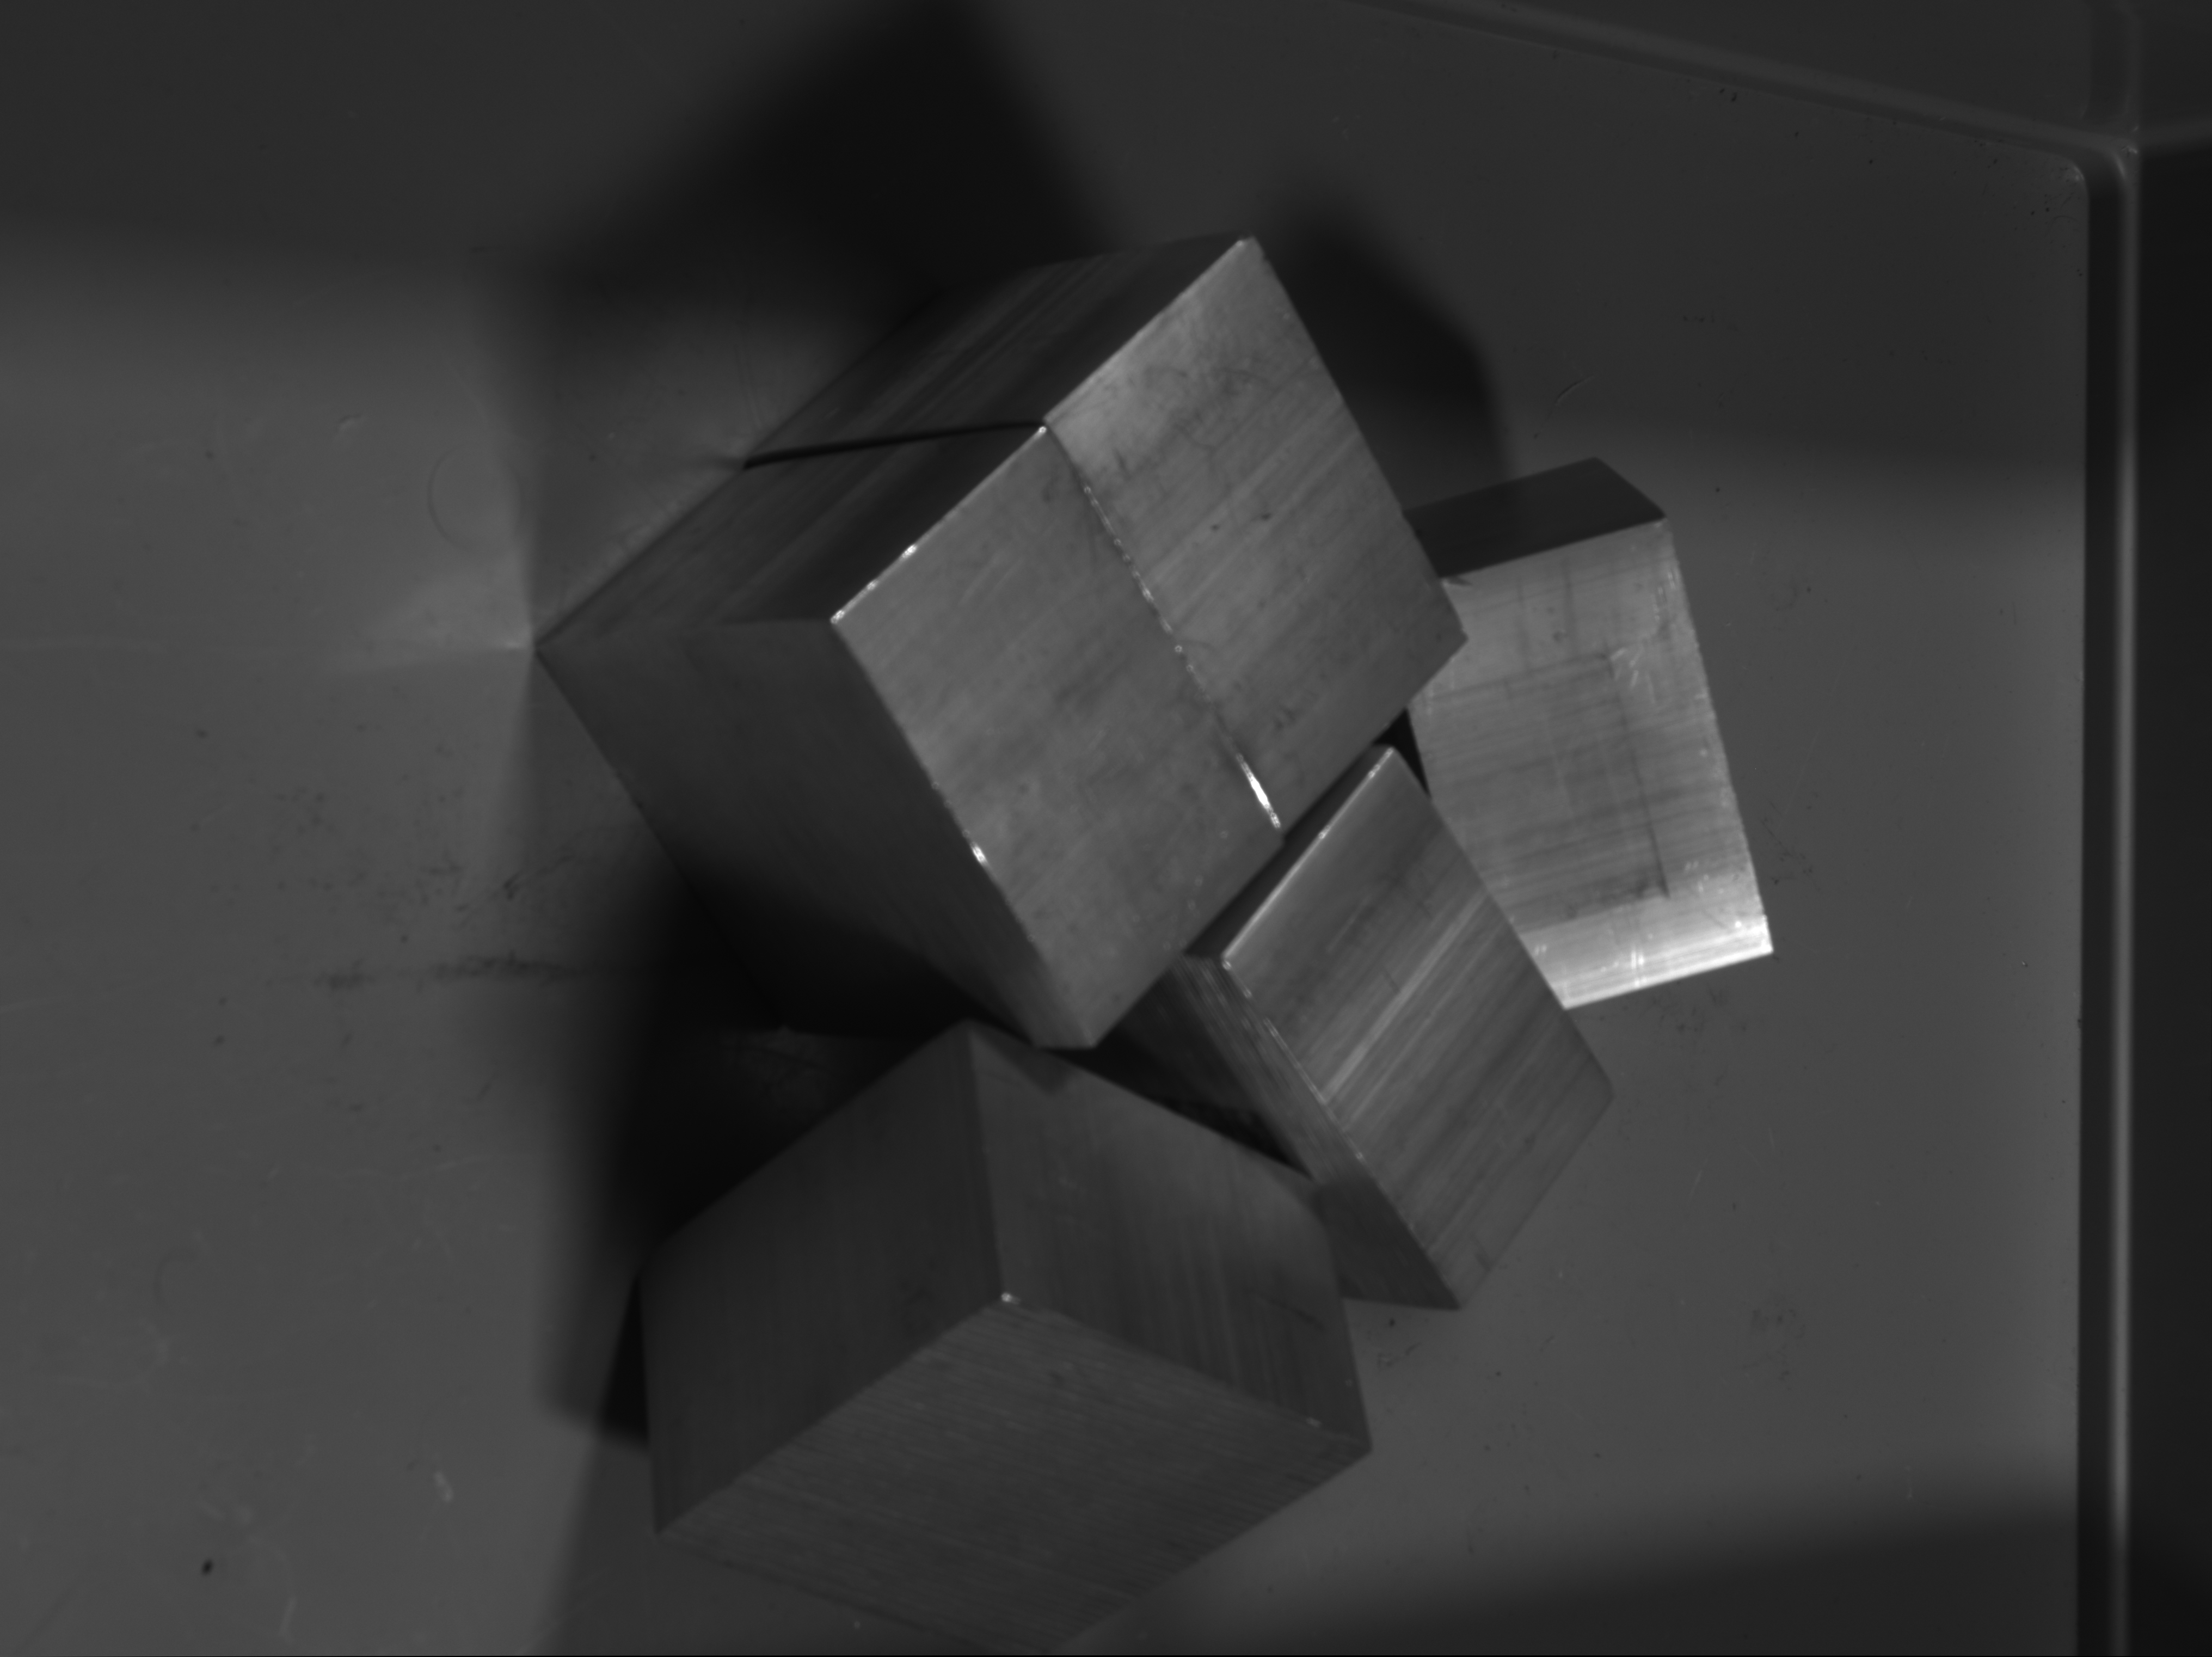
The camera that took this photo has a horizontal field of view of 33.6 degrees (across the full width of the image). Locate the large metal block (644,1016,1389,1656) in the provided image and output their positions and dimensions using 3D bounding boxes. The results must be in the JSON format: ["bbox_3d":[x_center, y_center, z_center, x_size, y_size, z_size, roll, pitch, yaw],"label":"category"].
[{"bbox_3d":[-0.015,0.083,0.579,0.080,0.080,0.050,28,38,-36],"label":"large metal block"}]

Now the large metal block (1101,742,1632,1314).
[{"bbox_3d":[0.029,0.033,0.624,0.050,0.080,0.080,-49,119,-29],"label":"large metal block"}]

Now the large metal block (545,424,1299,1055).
[{"bbox_3d":[-0.029,-0.013,0.577,0.050,0.080,0.080,-45,117,-31],"label":"large metal block"}]

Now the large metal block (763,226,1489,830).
[{"bbox_3d":[0.003,-0.047,0.603,0.050,0.080,0.080,-46,117,-30],"label":"large metal block"}]

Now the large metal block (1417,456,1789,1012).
[{"bbox_3d":[0.081,-0.018,0.660,0.050,0.080,0.080,-16,103,2],"label":"large metal block"}]
